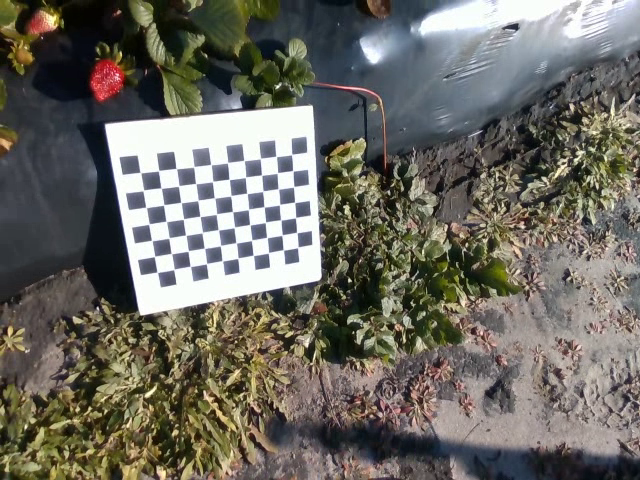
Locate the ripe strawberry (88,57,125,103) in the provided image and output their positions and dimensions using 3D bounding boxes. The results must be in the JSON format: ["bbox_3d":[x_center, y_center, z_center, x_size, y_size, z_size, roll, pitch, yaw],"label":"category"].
[{"bbox_3d":[-0.269,-0.194,0.991,0.058,0.062,0.065,-39,-57,23],"label":"ripe strawberry"}]
